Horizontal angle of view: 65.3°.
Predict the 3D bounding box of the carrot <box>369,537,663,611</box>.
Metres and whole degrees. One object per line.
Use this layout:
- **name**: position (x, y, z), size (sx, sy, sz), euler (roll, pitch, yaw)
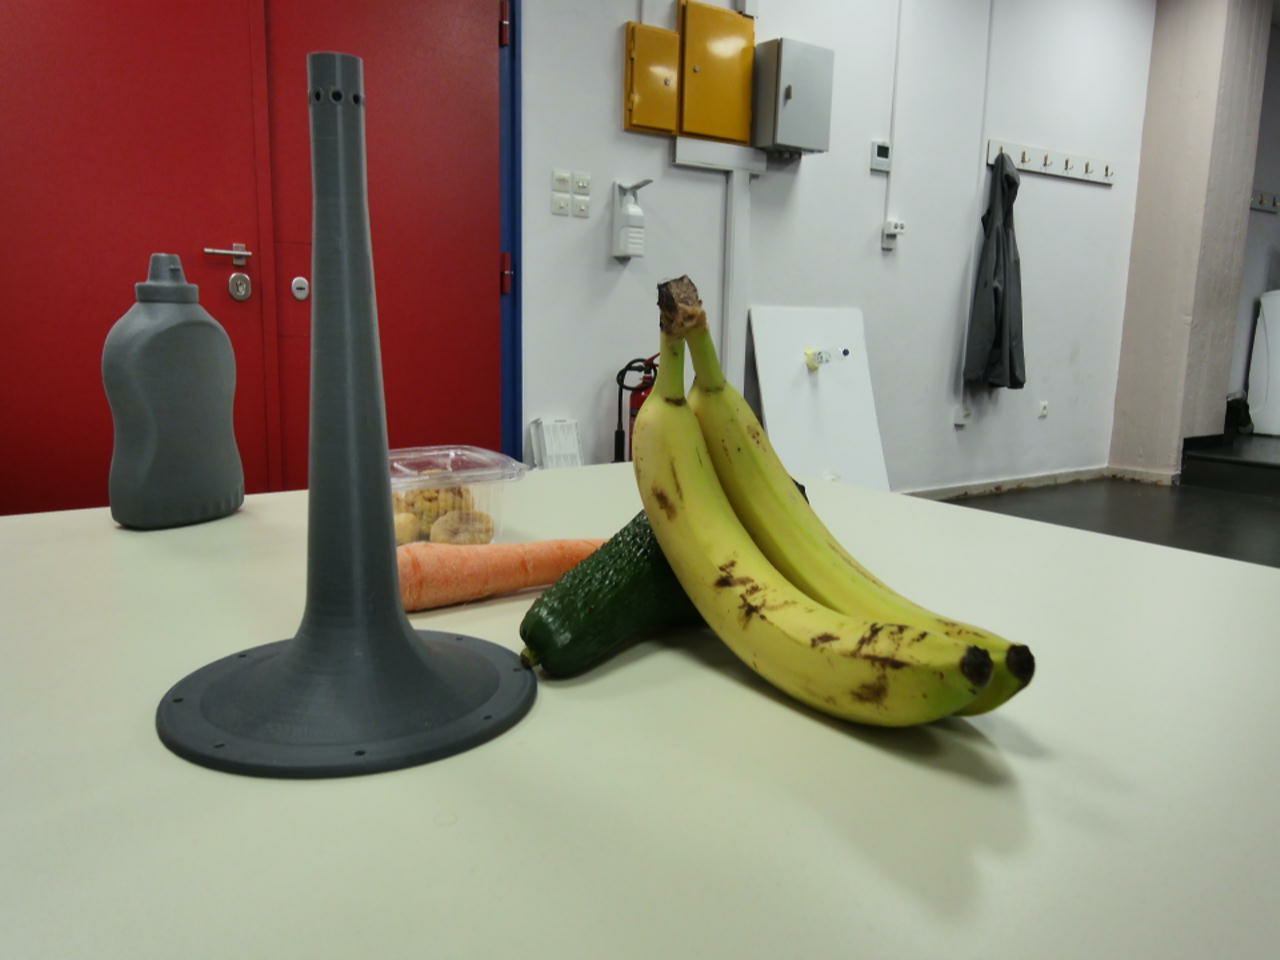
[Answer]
- **carrot**: position (-0.067, 0.050, 0.610), size (0.196, 0.041, 0.039), euler (-6, 10, -35)
